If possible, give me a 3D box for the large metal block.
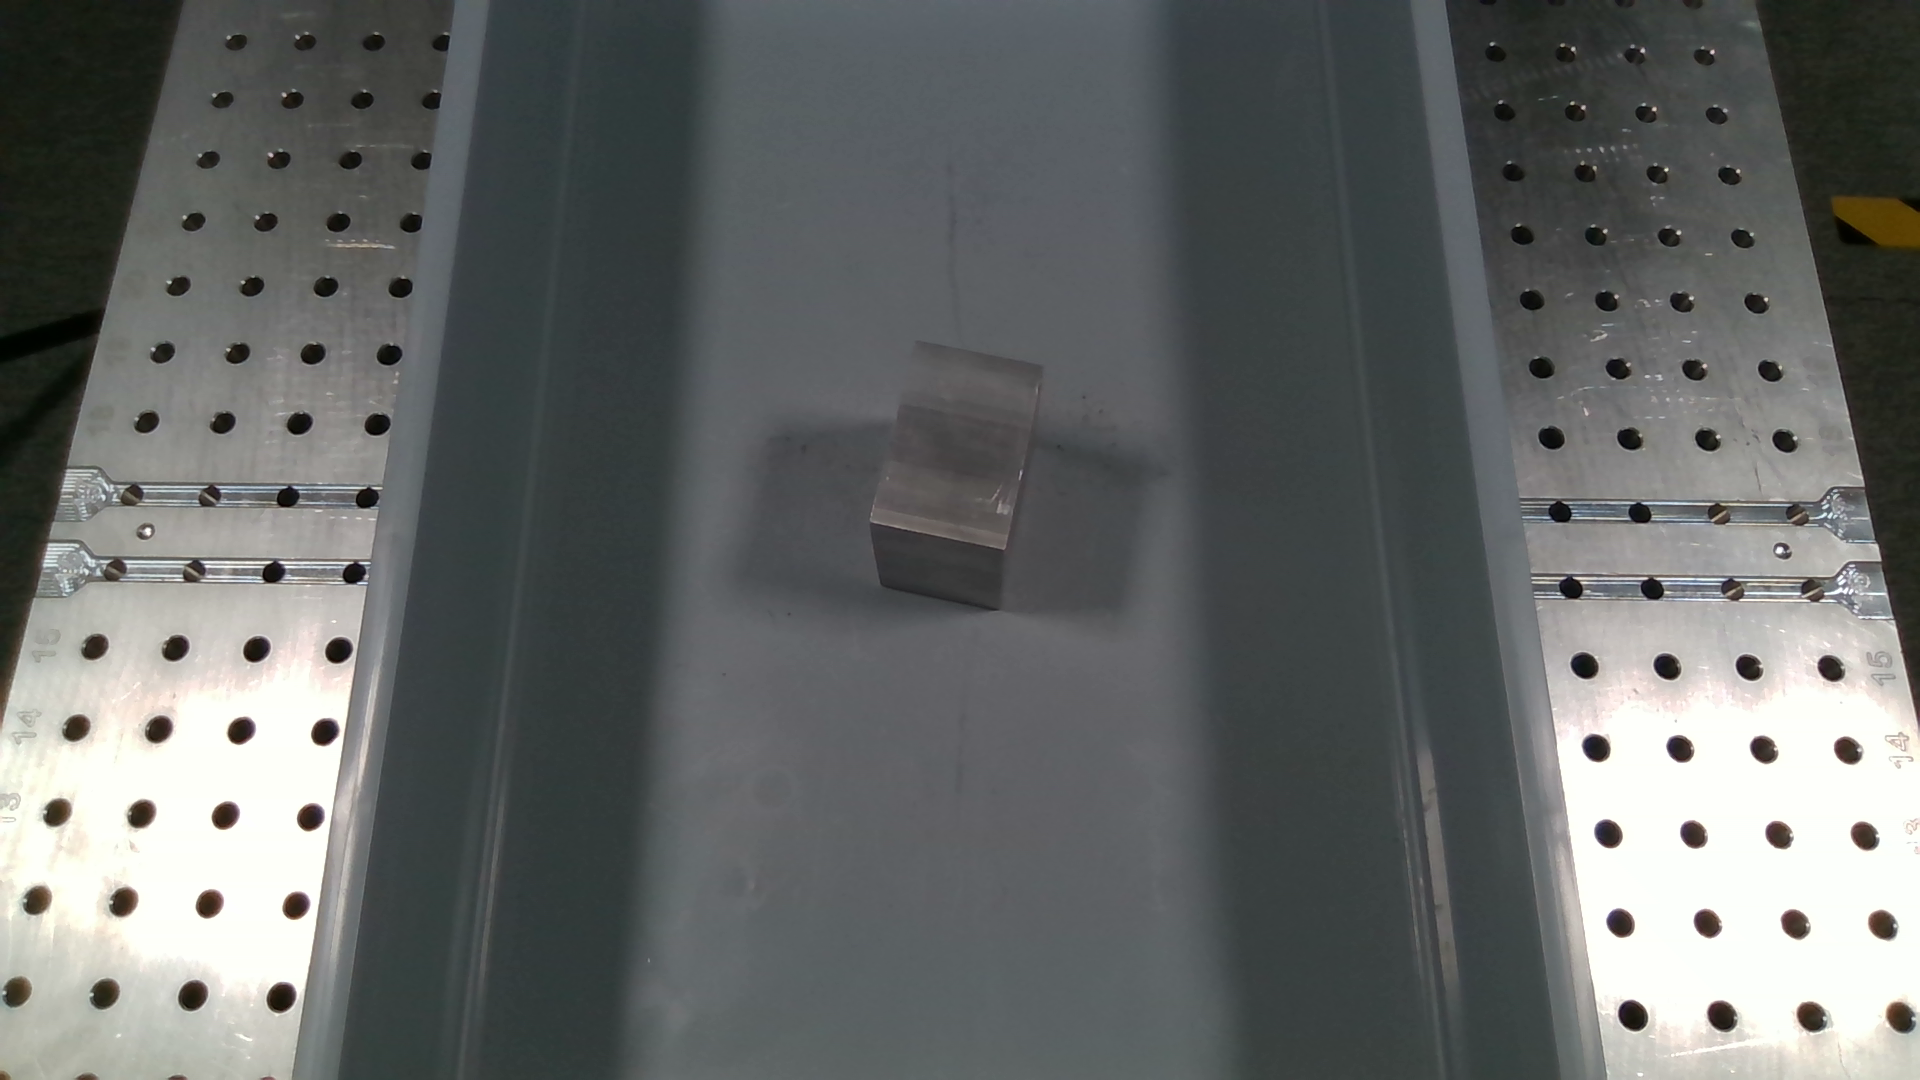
[{"bbox_3d":[-0.001,-0.024,0.565,0.050,0.080,0.080,11,71,4],"label":"large metal block"}]
